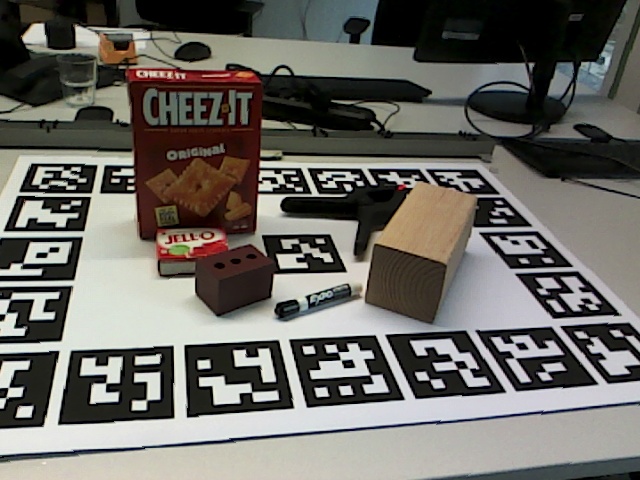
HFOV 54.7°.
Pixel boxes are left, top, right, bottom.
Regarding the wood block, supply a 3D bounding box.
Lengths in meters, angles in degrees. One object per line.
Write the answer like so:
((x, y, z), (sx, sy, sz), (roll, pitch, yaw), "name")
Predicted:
((0.134, 0.011, 0.815), (0.090, 0.091, 0.206), (16, 31, 18), "wood block")

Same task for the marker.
((-0.013, 0.076, 0.741), (0.120, 0.019, 0.020), (-14, 40, -29), "marker")

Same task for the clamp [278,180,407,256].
((0.063, -0.051, 0.941), (0.202, 0.036, 0.166), (-23, 43, -38), "clamp")

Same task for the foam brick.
((-0.105, 0.049, 0.738), (0.077, 0.051, 0.053), (-18, 42, -33), "foam brick")

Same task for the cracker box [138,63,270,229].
((-0.159, -0.122, 0.836), (0.163, 0.213, 0.072), (-2, 32, -17), "cracker box")

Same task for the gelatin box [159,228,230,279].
((-0.163, 0.016, 0.803), (0.089, 0.030, 0.073), (-2, 35, -14), "gelatin box")
